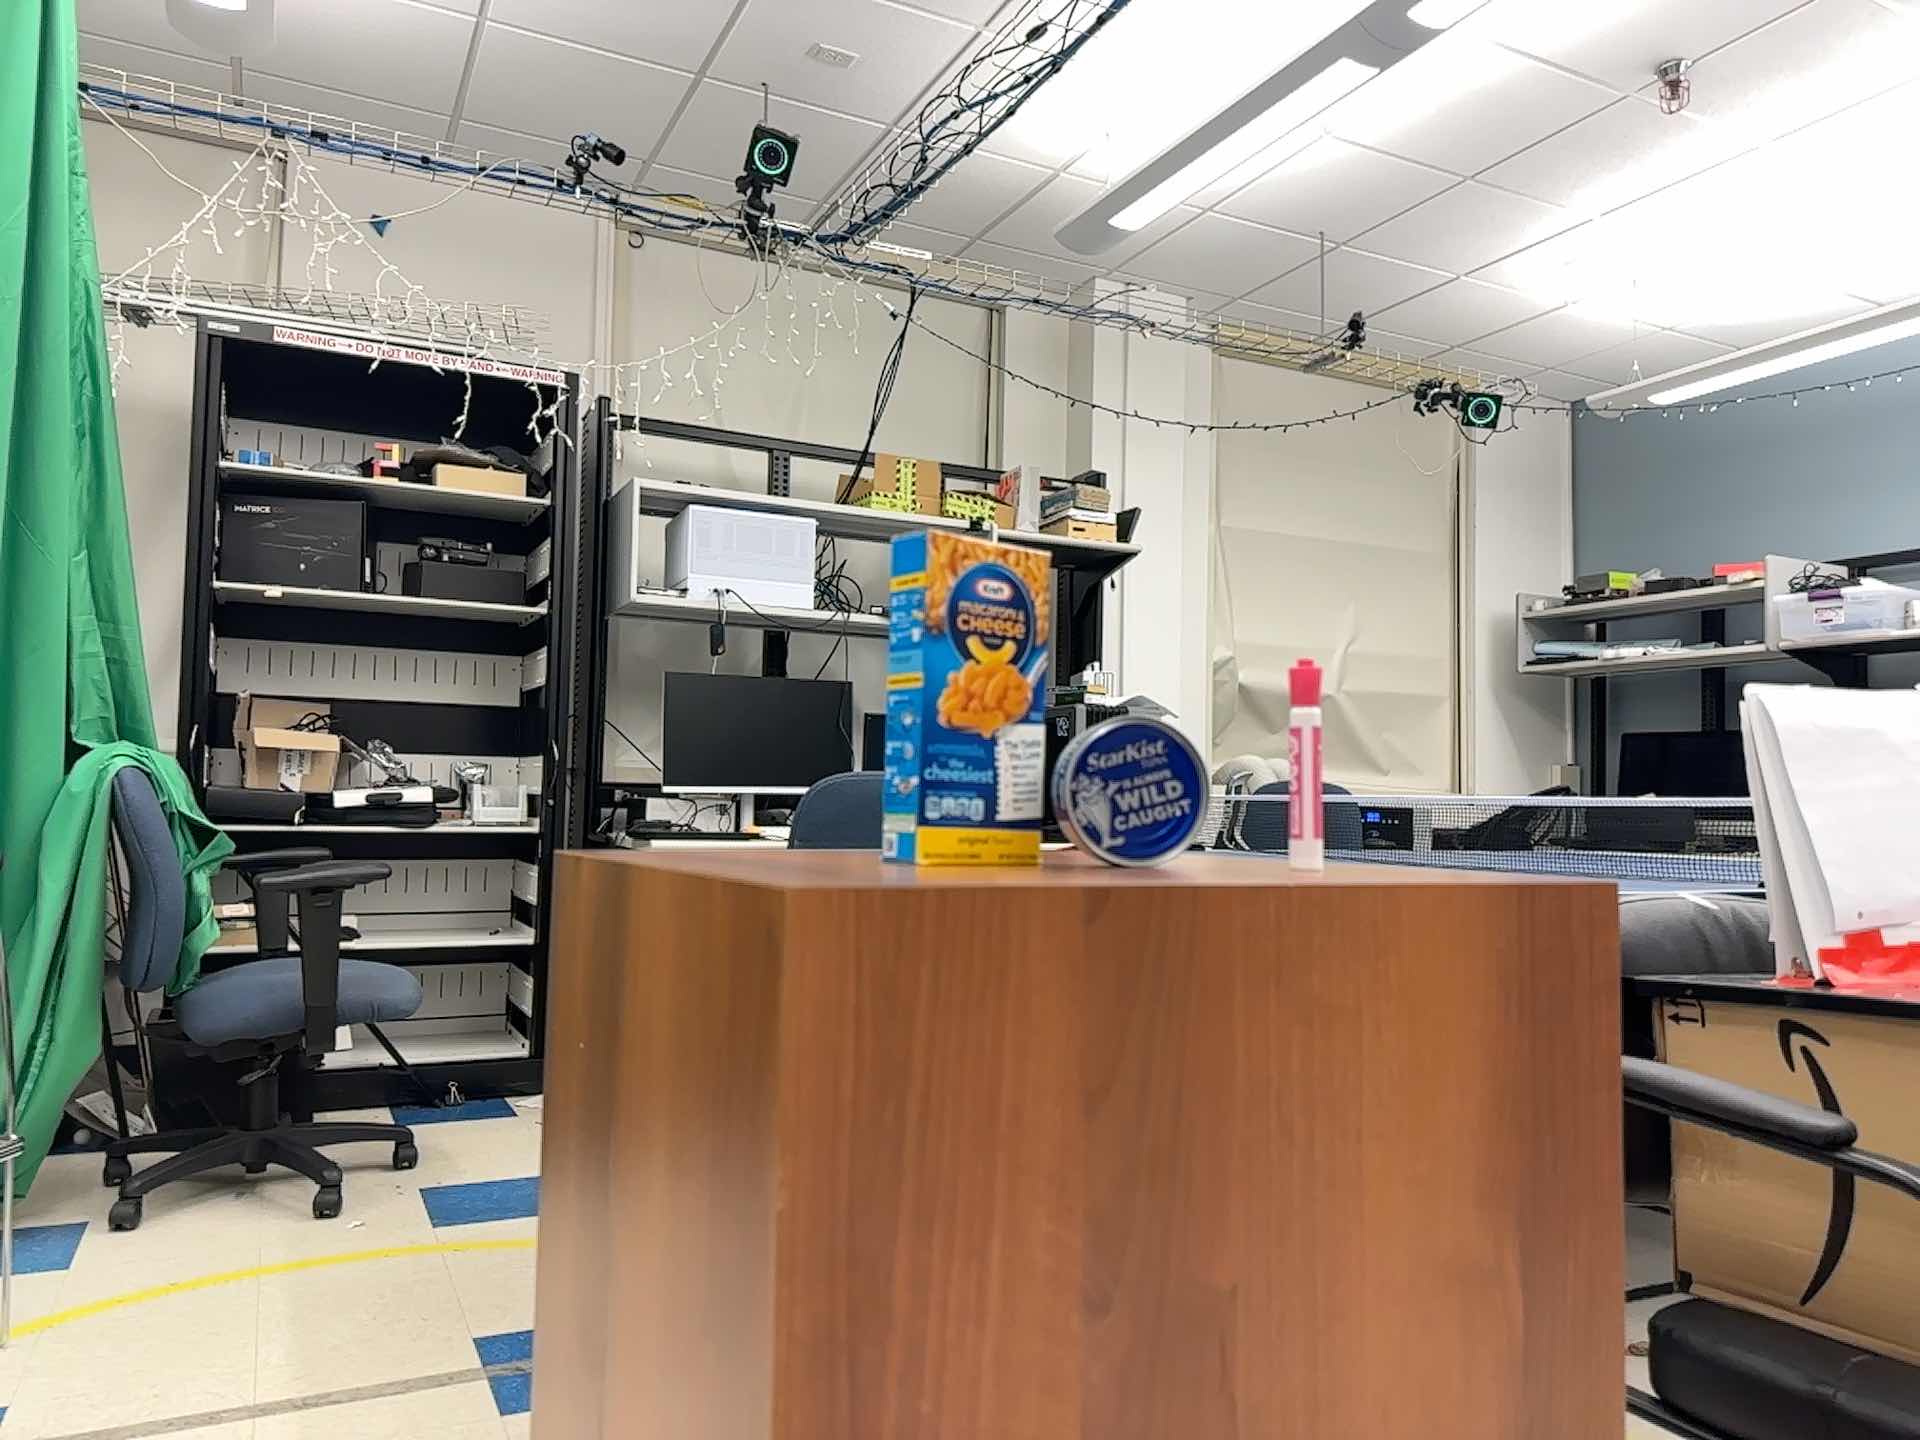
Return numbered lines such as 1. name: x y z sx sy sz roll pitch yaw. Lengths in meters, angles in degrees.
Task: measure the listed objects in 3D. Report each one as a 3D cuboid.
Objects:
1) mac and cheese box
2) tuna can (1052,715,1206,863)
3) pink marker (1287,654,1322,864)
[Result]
1. mac and cheese box: 0.006 -0.011 0.765 0.088 0.181 0.035 2 -2 -35
2. tuna can: 0.097 0.039 0.779 0.083 0.083 0.034 1 -3 -9
3. pink marker: 0.200 0.022 0.782 0.020 0.121 0.020 1 -2 0
